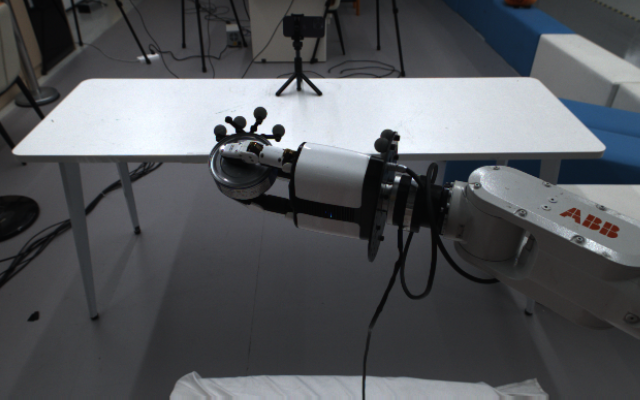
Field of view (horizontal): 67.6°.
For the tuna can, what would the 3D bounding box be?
[{"bbox_3d":[-0.095,-0.044,0.625,0.085,0.034,0.085,-2,57,3],"label":"tuna can"}]
